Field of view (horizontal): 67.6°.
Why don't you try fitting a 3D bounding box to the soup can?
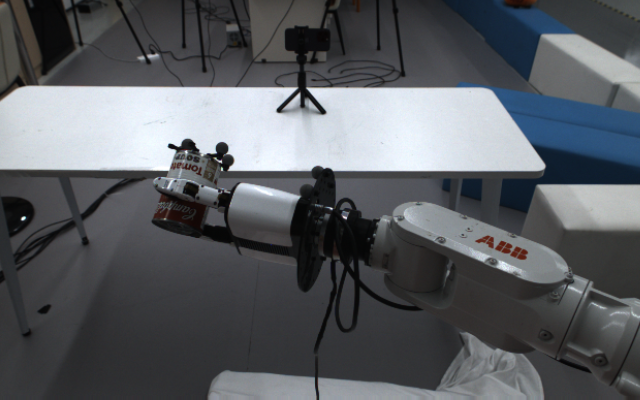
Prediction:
[{"bbox_3d":[-0.179,-0.007,0.658,0.067,0.067,0.101,9,71,10],"label":"soup can"}]
